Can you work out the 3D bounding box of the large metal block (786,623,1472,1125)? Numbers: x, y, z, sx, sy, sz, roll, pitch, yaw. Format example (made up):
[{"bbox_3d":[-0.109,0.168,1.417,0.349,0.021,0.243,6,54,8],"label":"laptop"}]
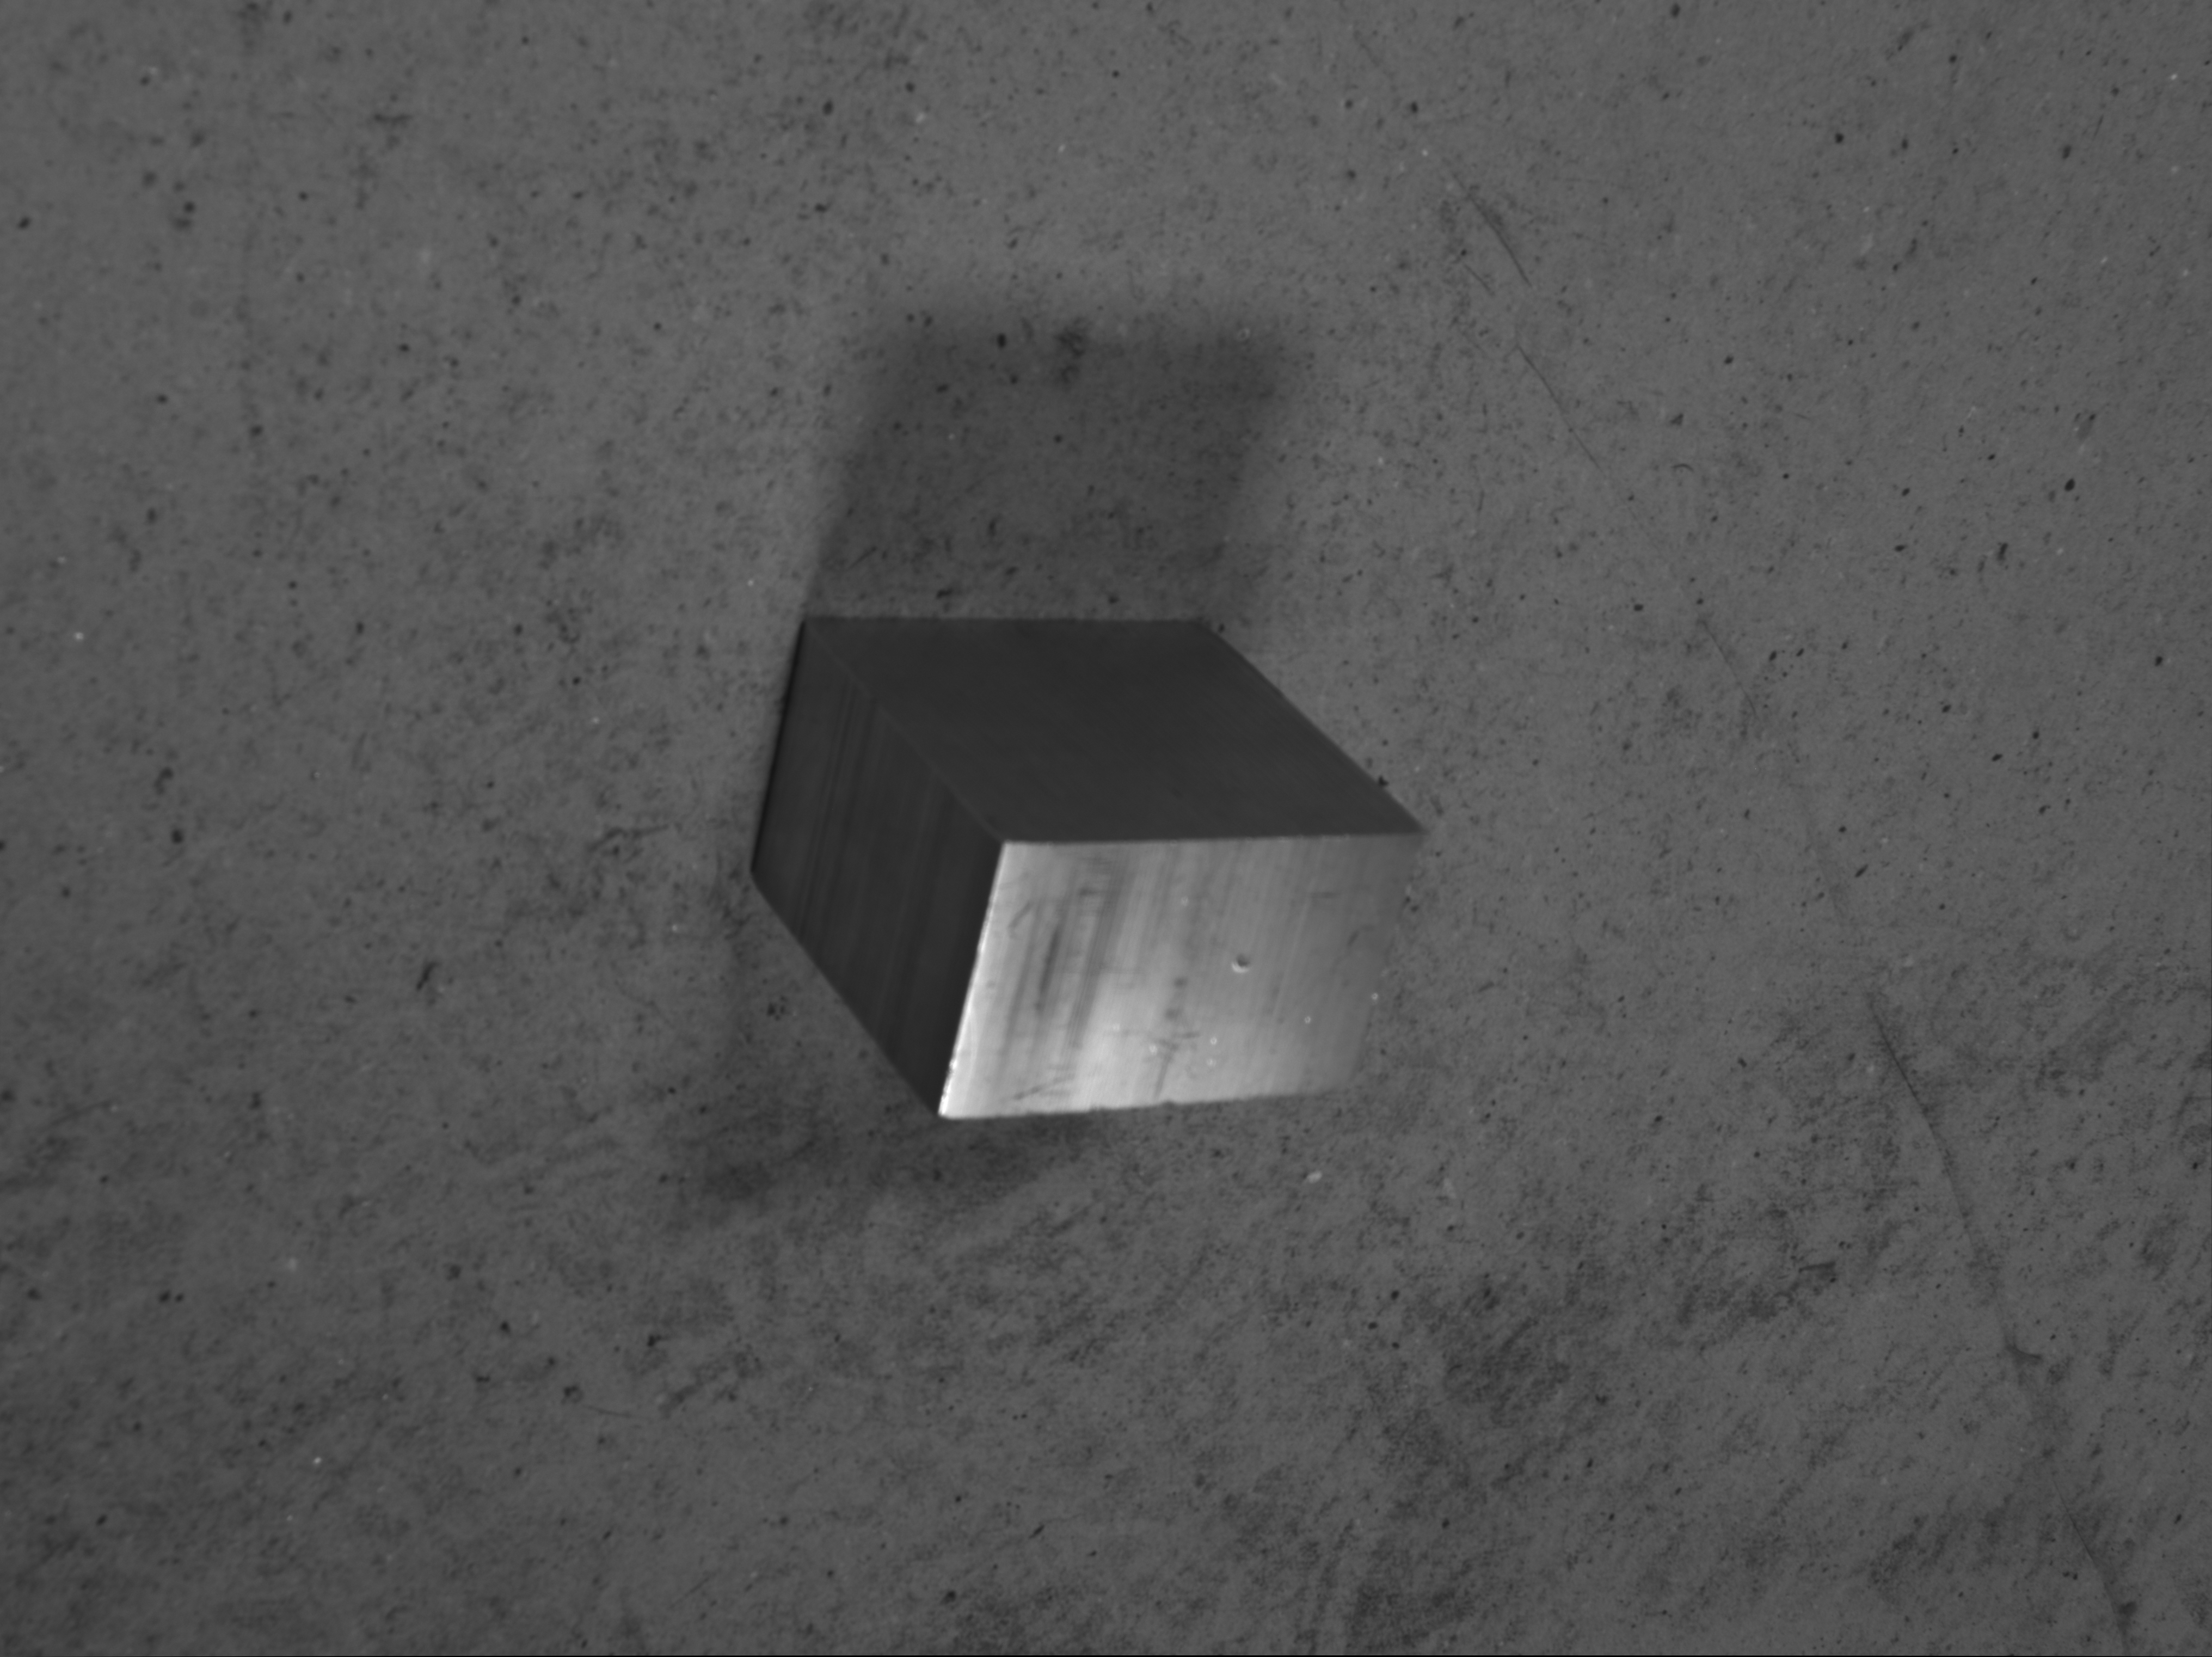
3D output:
[{"bbox_3d":[0.002,0.005,0.620,0.080,0.080,0.050,-1,119,-30],"label":"large metal block"}]
